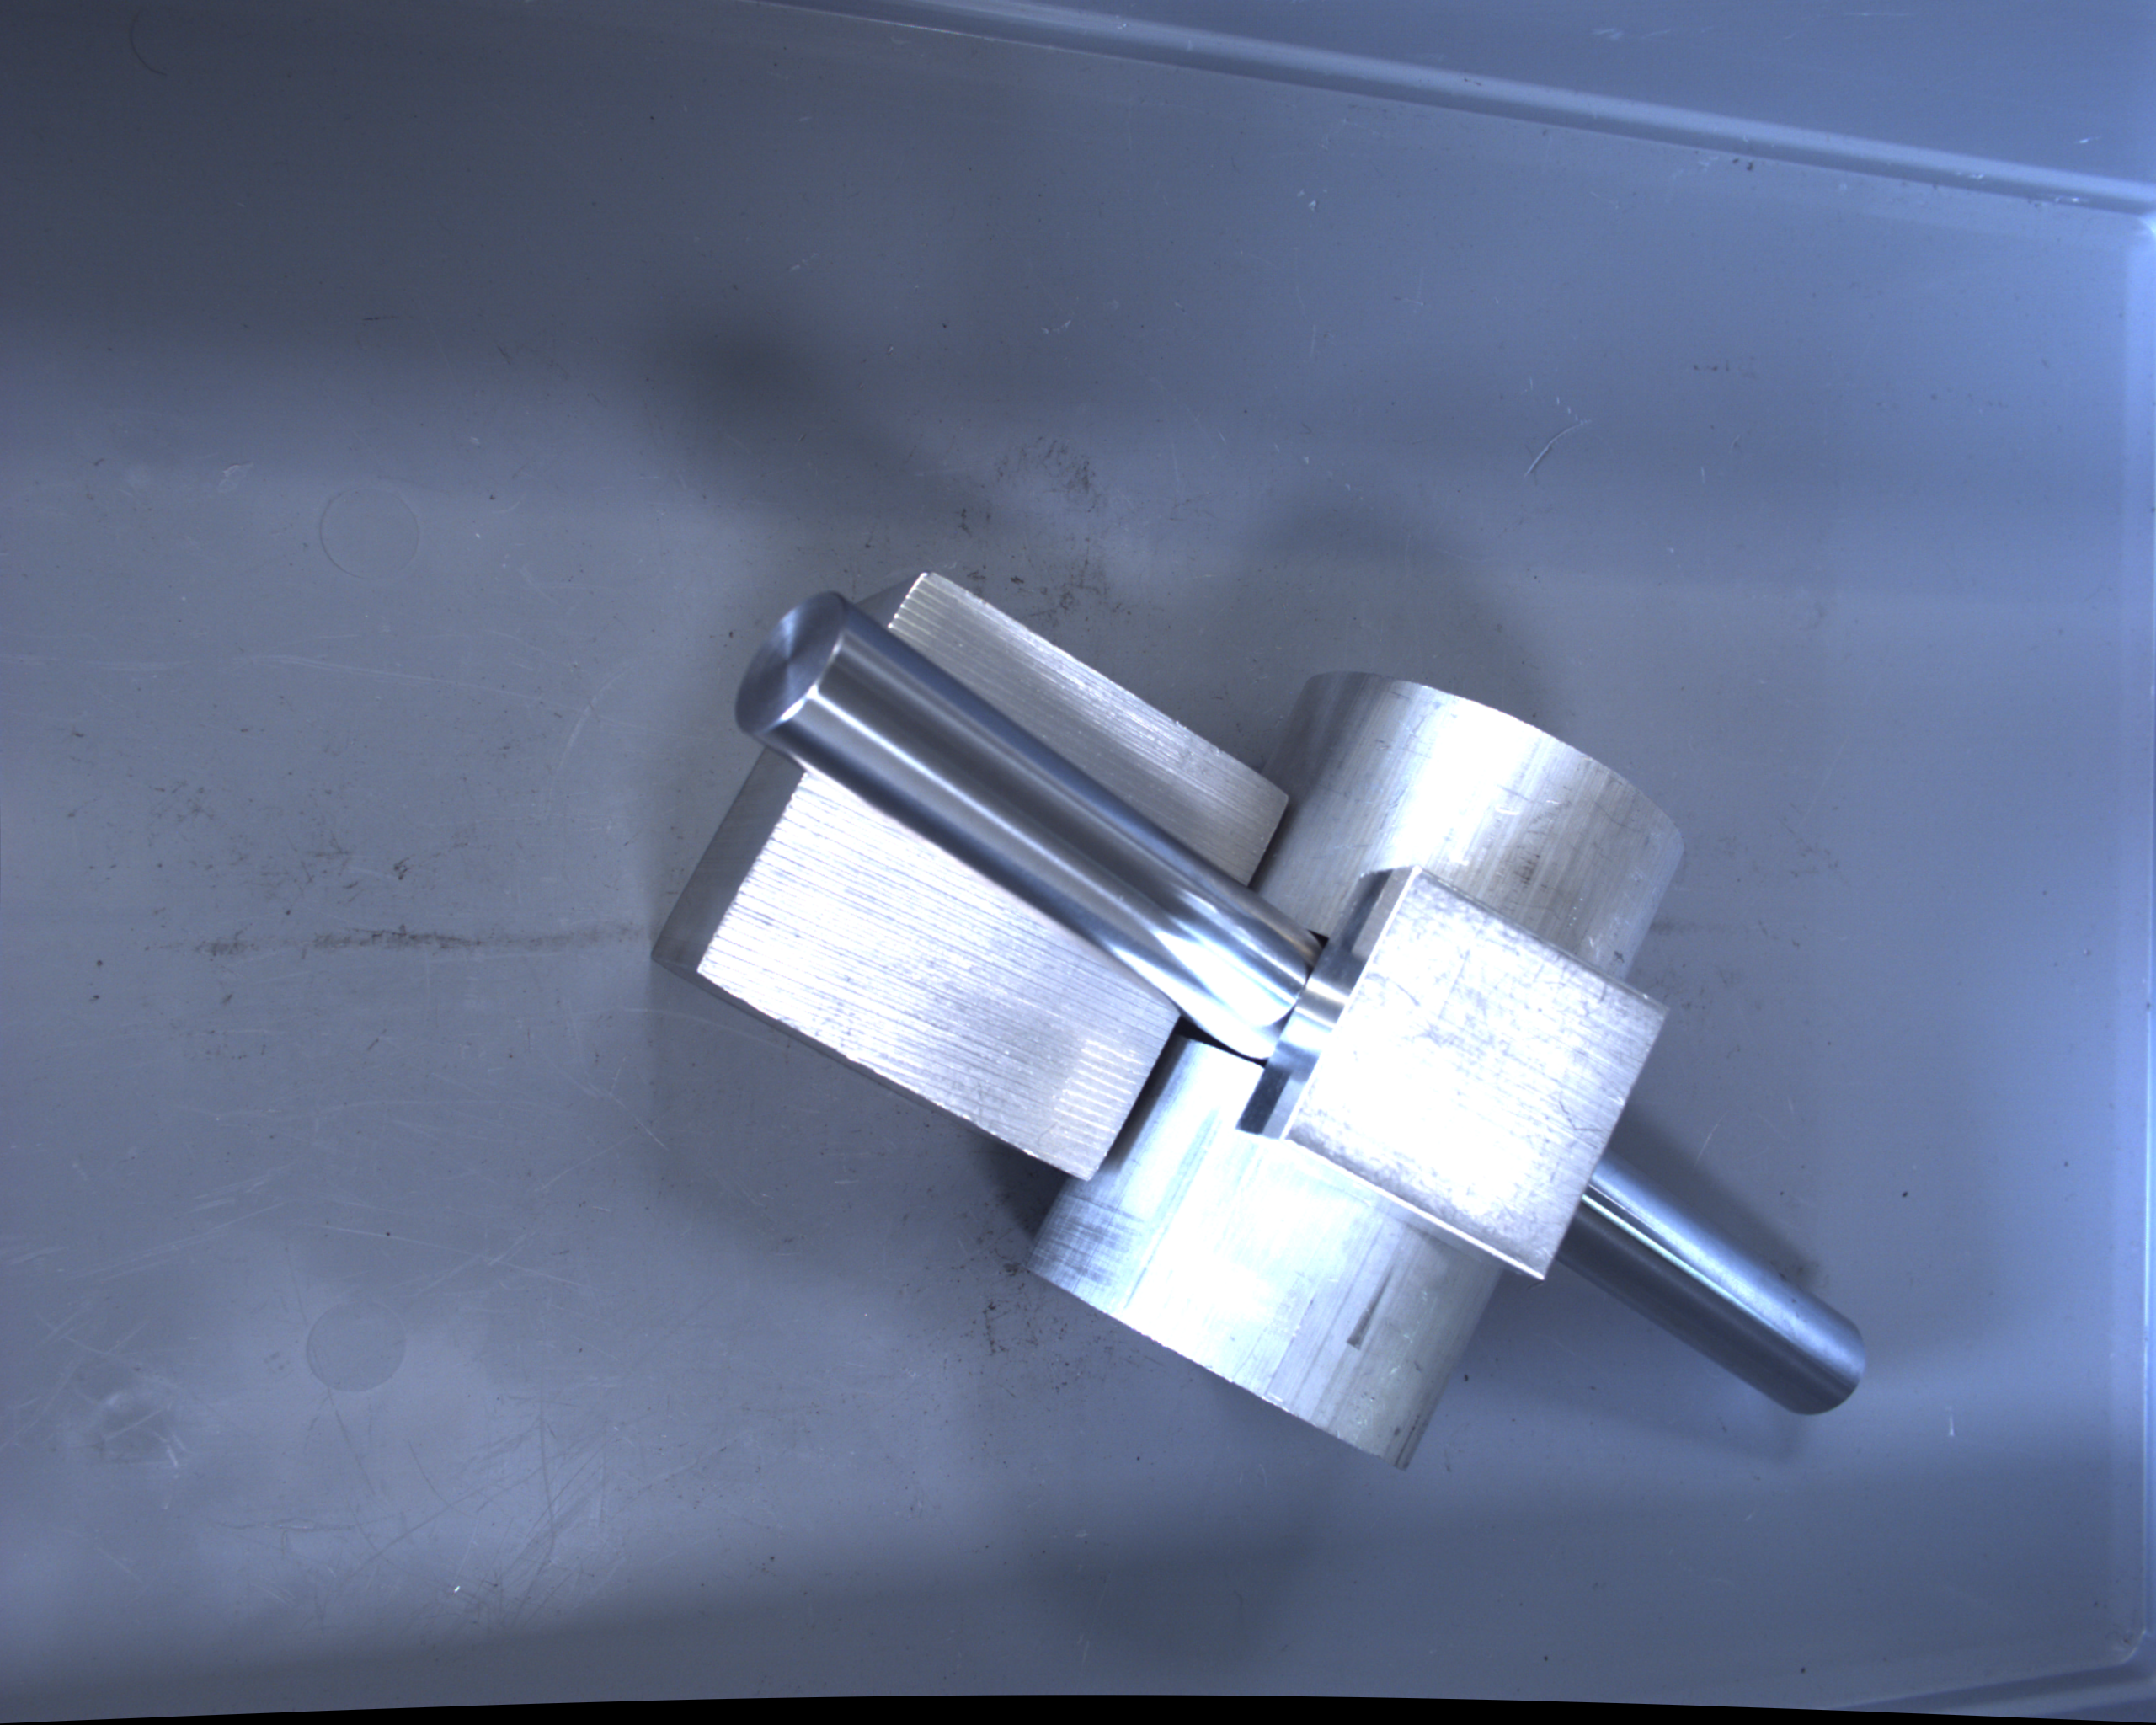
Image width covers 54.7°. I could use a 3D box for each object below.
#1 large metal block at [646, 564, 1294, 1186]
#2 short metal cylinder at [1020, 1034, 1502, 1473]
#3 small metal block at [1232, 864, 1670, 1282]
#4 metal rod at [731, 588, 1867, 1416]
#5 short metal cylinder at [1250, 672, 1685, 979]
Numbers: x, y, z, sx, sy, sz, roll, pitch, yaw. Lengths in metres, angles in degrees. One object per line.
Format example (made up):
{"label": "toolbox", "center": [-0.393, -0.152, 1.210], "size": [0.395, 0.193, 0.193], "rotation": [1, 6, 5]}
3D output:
{"label": "large metal block", "center": [-0.021, 0.003, 0.386], "size": [0.080, 0.050, 0.080], "rotation": [31, 80, -18]}
{"label": "short metal cylinder", "center": [0.036, 0.073, 0.393], "size": [0.080, 0.080, 0.050], "rotation": [31, 80, -18]}
{"label": "small metal block", "center": [0.062, 0.035, 0.348], "size": [0.050, 0.025, 0.050], "rotation": [29, 80, -9]}
{"label": "metal rod", "center": [0.061, 0.041, 0.390], "size": [0.301, 0.025, 0.025], "rotation": [34, 79, -33]}
{"label": "short metal cylinder", "center": [0.070, 0.004, 0.406], "size": [0.080, 0.080, 0.050], "rotation": [29, 81, -18]}
